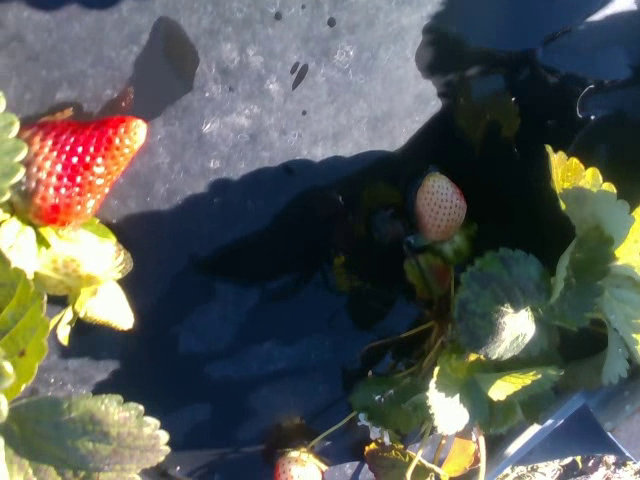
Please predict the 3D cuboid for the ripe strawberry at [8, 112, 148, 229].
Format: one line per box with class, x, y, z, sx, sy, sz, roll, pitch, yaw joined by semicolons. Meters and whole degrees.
ripe strawberry;-0.091;-0.032;0.234;0.064;0.052;0.049;-33;-19;6
